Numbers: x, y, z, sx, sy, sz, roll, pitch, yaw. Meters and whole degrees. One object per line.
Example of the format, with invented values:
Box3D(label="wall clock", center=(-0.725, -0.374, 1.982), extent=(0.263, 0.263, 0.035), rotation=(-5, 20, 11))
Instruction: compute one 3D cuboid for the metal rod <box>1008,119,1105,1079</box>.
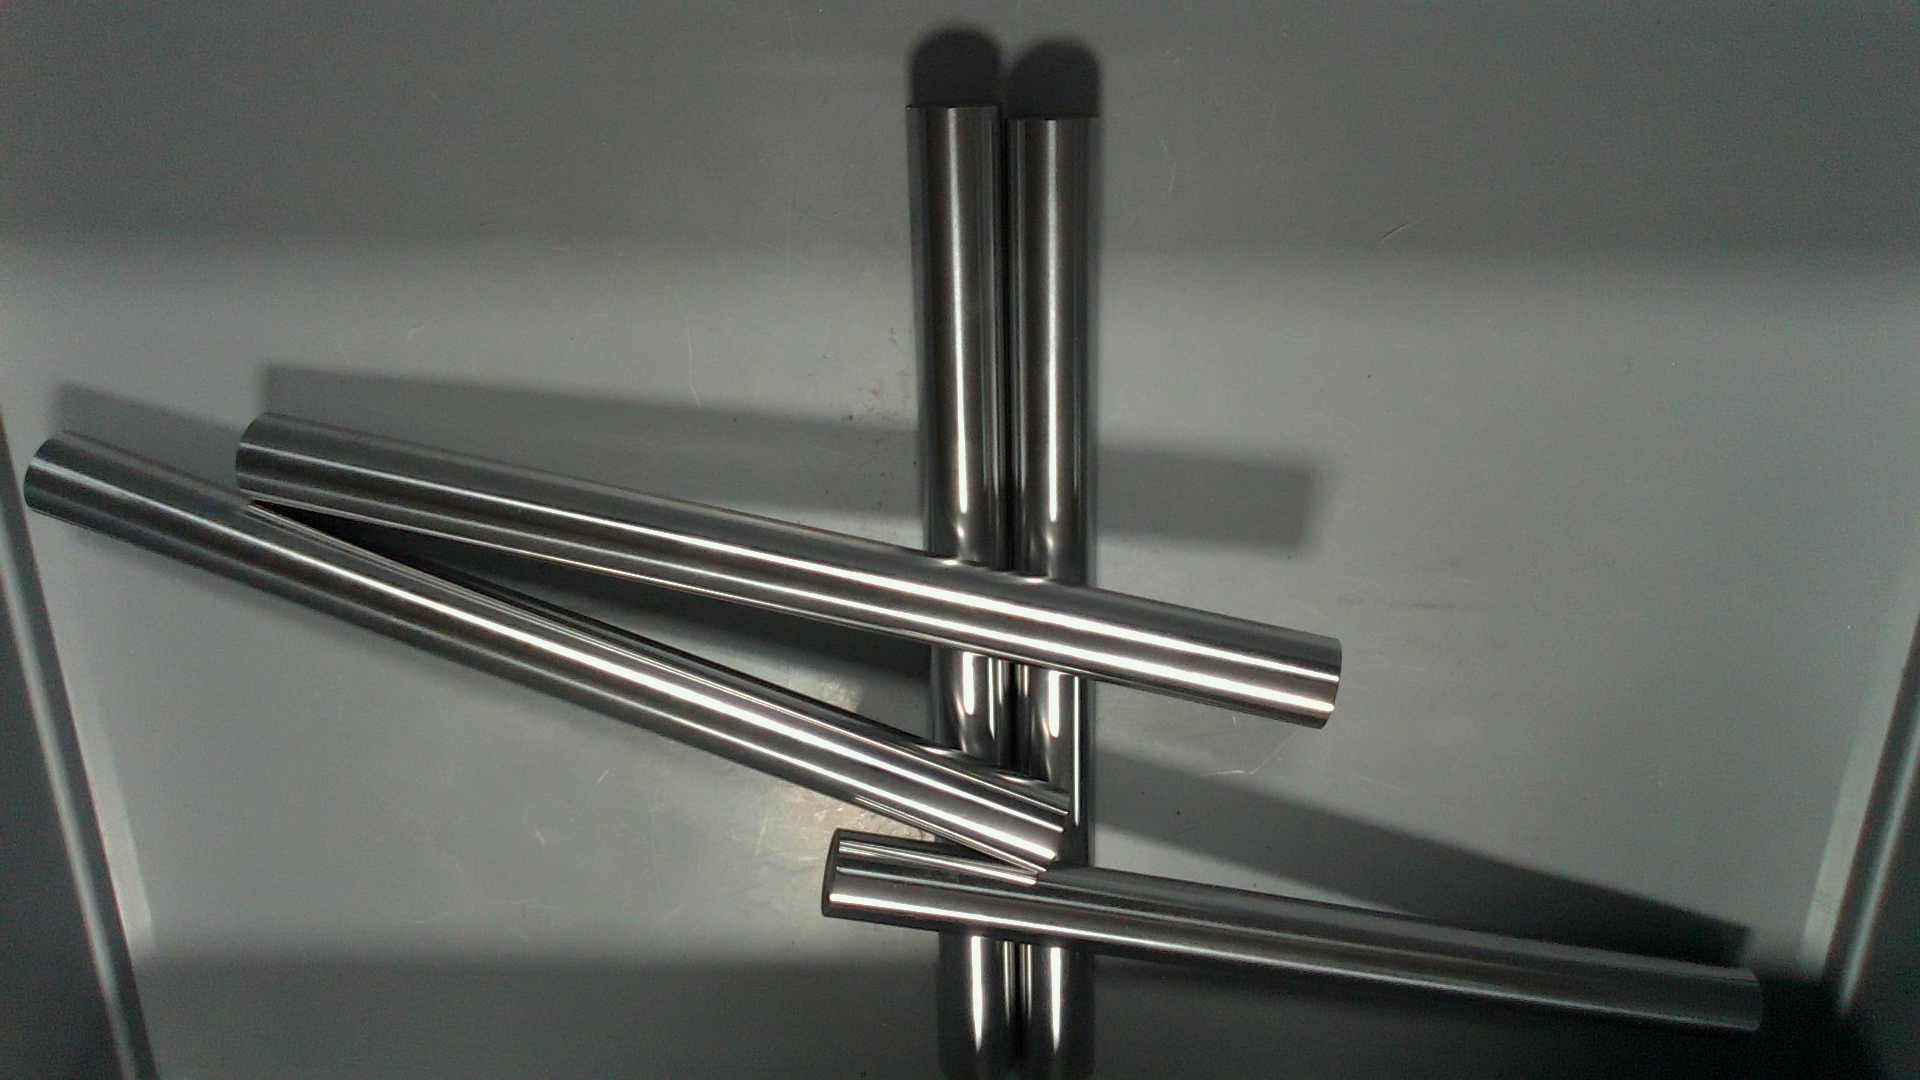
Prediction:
Box3D(label="metal rod", center=(0.028, 0.034, 0.404), extent=(0.025, 0.025, 0.300), rotation=(-1, 110, 0))

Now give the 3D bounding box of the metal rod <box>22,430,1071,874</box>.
Box3D(label="metal rod", center=(-0.113, 0.032, 0.391), extent=(0.300, 0.025, 0.025), rotation=(20, 109, -2))

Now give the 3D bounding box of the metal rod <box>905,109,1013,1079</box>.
Box3D(label="metal rod", center=(0.002, 0.031, 0.403), extent=(0.025, 0.025, 0.300), rotation=(-1, 110, 0))

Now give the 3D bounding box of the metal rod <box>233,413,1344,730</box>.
Box3D(label="metal rod", center=(-0.048, 0.008, 0.375), extent=(0.300, 0.025, 0.025), rotation=(12, 110, 3))

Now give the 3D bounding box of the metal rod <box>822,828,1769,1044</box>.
Box3D(label="metal rod", center=(0.108, 0.123, 0.420), extent=(0.300, 0.025, 0.025), rotation=(11, 110, -10))
